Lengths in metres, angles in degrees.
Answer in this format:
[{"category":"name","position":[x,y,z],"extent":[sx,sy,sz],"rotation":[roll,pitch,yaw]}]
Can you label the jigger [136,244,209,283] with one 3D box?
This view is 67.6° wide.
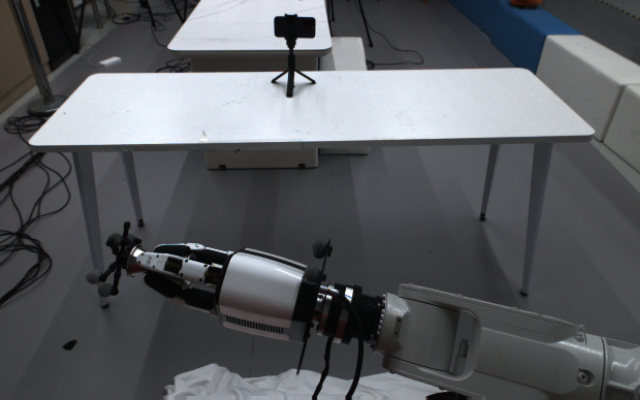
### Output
[{"category":"jigger","position":[-0.180,0.075,0.574],"extent":[0.071,0.043,0.043],"rotation":[10,35,2]}]
